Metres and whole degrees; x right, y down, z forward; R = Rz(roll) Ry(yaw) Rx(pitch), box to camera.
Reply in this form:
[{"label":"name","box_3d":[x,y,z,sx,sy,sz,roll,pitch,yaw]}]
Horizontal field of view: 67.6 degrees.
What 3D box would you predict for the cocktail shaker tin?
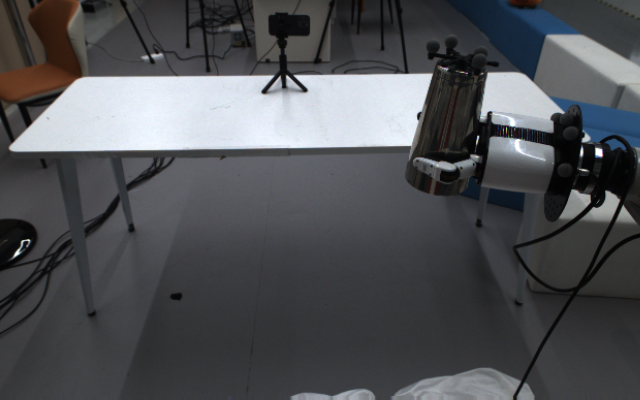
[{"label":"cocktail shaker tin","box_3d":[0.177,-0.102,0.667,0.093,0.170,0.093,3,34,-2]}]
